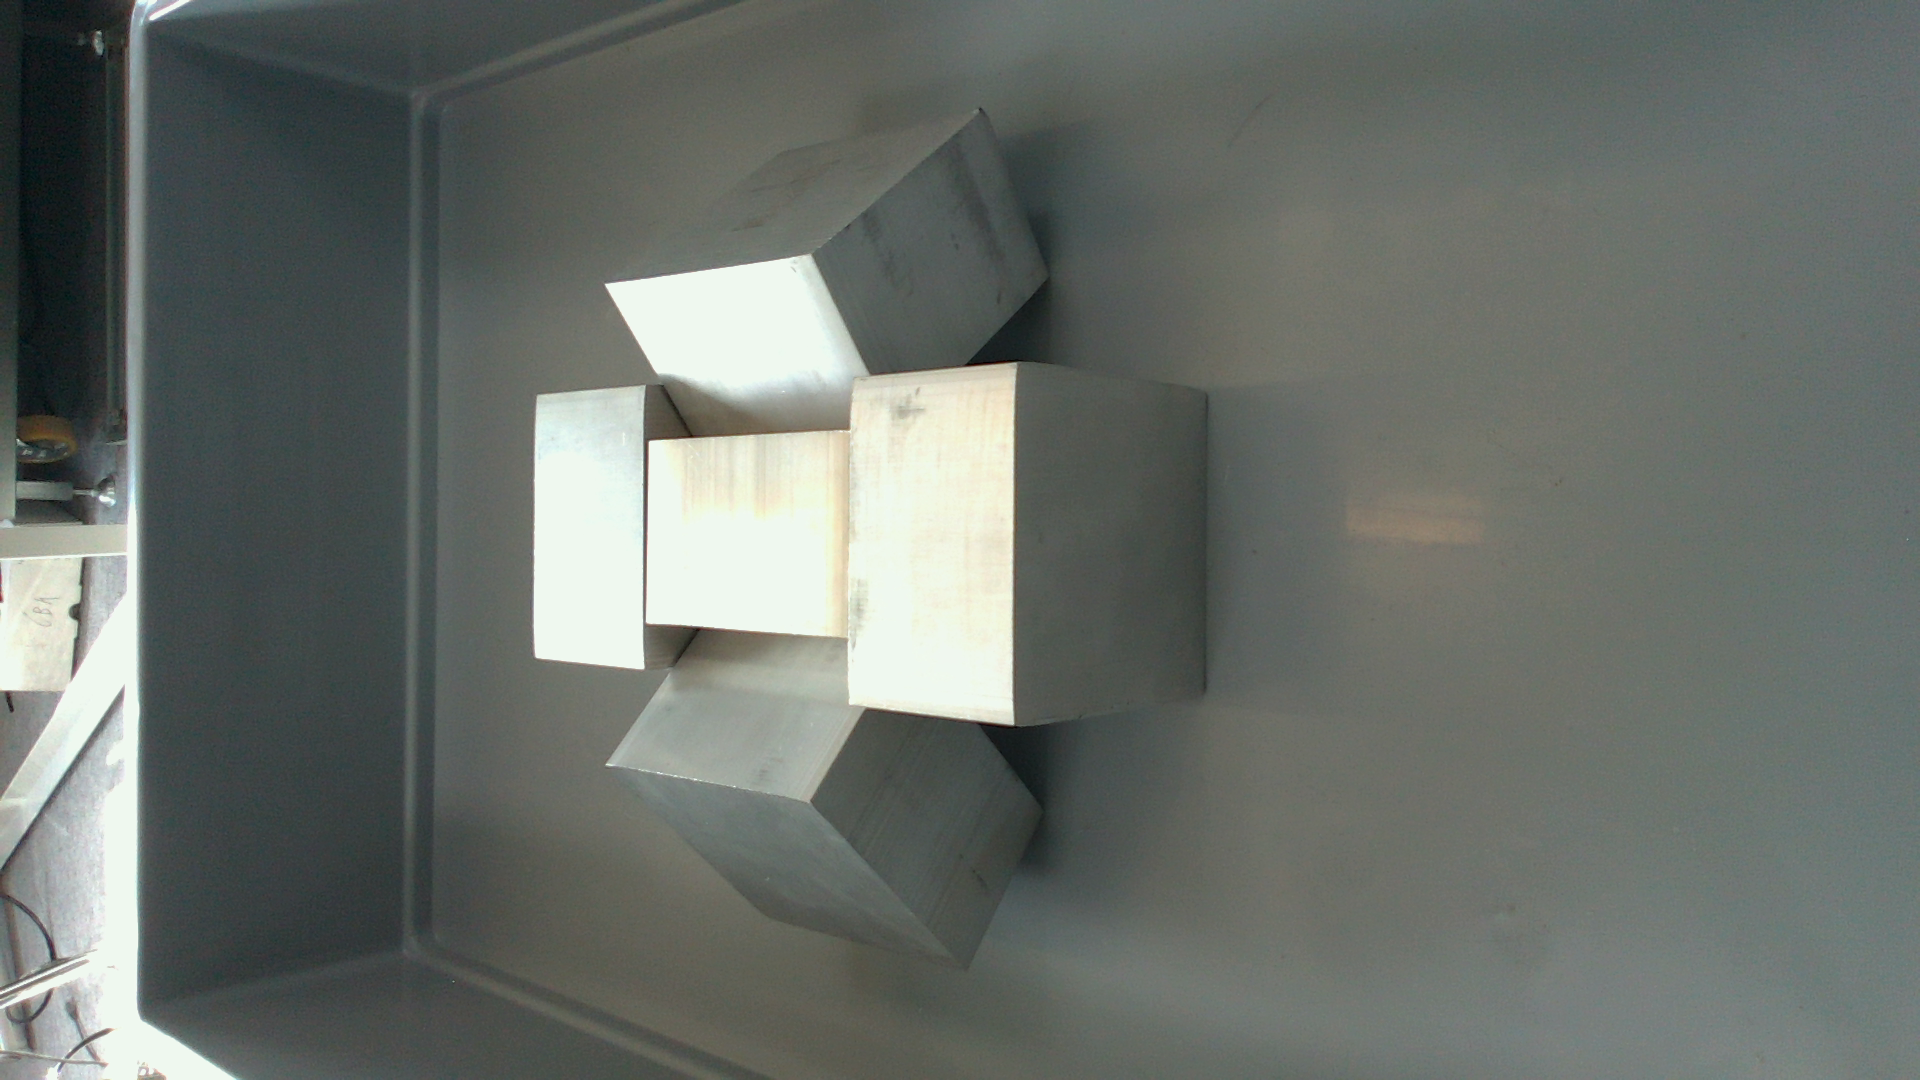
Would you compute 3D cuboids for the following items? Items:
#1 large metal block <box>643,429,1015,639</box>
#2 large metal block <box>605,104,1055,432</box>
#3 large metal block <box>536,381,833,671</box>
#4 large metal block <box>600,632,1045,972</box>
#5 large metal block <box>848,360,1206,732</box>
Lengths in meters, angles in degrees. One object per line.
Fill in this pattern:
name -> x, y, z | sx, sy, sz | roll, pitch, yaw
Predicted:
large metal block -> -0.031, -0.002, 0.384 | 0.080, 0.080, 0.050 | 1, 91, 40
large metal block -> -0.034, -0.073, 0.378 | 0.080, 0.080, 0.050 | 2, 129, 40
large metal block -> -0.082, -0.004, 0.427 | 0.050, 0.080, 0.080 | 1, 91, 40
large metal block -> -0.036, 0.069, 0.379 | 0.080, 0.080, 0.050 | 1, 49, 39
large metal block -> 0.019, 0.001, 0.342 | 0.050, 0.080, 0.080 | 1, 91, 40
